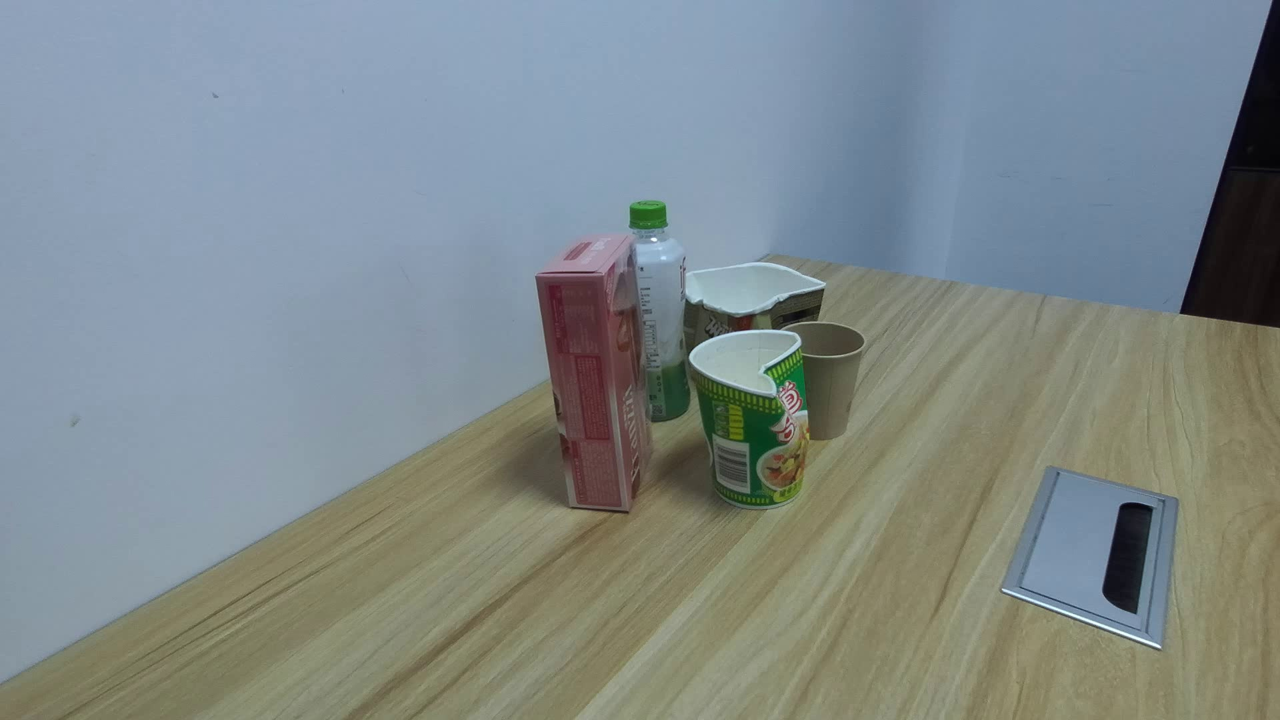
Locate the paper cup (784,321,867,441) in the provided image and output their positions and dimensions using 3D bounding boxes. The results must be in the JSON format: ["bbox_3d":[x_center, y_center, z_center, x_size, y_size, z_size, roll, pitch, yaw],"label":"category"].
[{"bbox_3d":[0.149,0.020,0.596,0.075,0.082,0.075,-3,25,2],"label":"paper cup"}]

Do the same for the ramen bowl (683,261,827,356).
[{"bbox_3d":[0.097,-0.034,0.701,0.114,0.097,0.133,-27,35,-37],"label":"ramen bowl"}]

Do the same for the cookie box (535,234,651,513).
[{"bbox_3d":[-0.027,0.010,0.523,0.048,0.185,0.096,1,25,12],"label":"cookie box"}]

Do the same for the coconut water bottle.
[{"bbox_3d":[0.011,-0.042,0.621,0.063,0.189,0.063,-2,24,1],"label":"coconut water bottle"}]

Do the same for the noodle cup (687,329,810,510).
[{"bbox_3d":[0.084,0.044,0.519,0.086,0.109,0.094,18,34,37],"label":"noodle cup"}]
